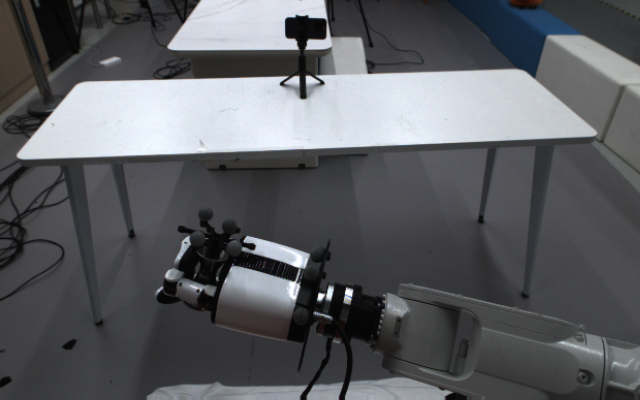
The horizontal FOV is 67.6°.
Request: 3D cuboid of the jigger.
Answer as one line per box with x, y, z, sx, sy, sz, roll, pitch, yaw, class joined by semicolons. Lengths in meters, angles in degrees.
-0.131;0.090;0.568;0.043;0.071;0.043;18;17;-6;jigger
